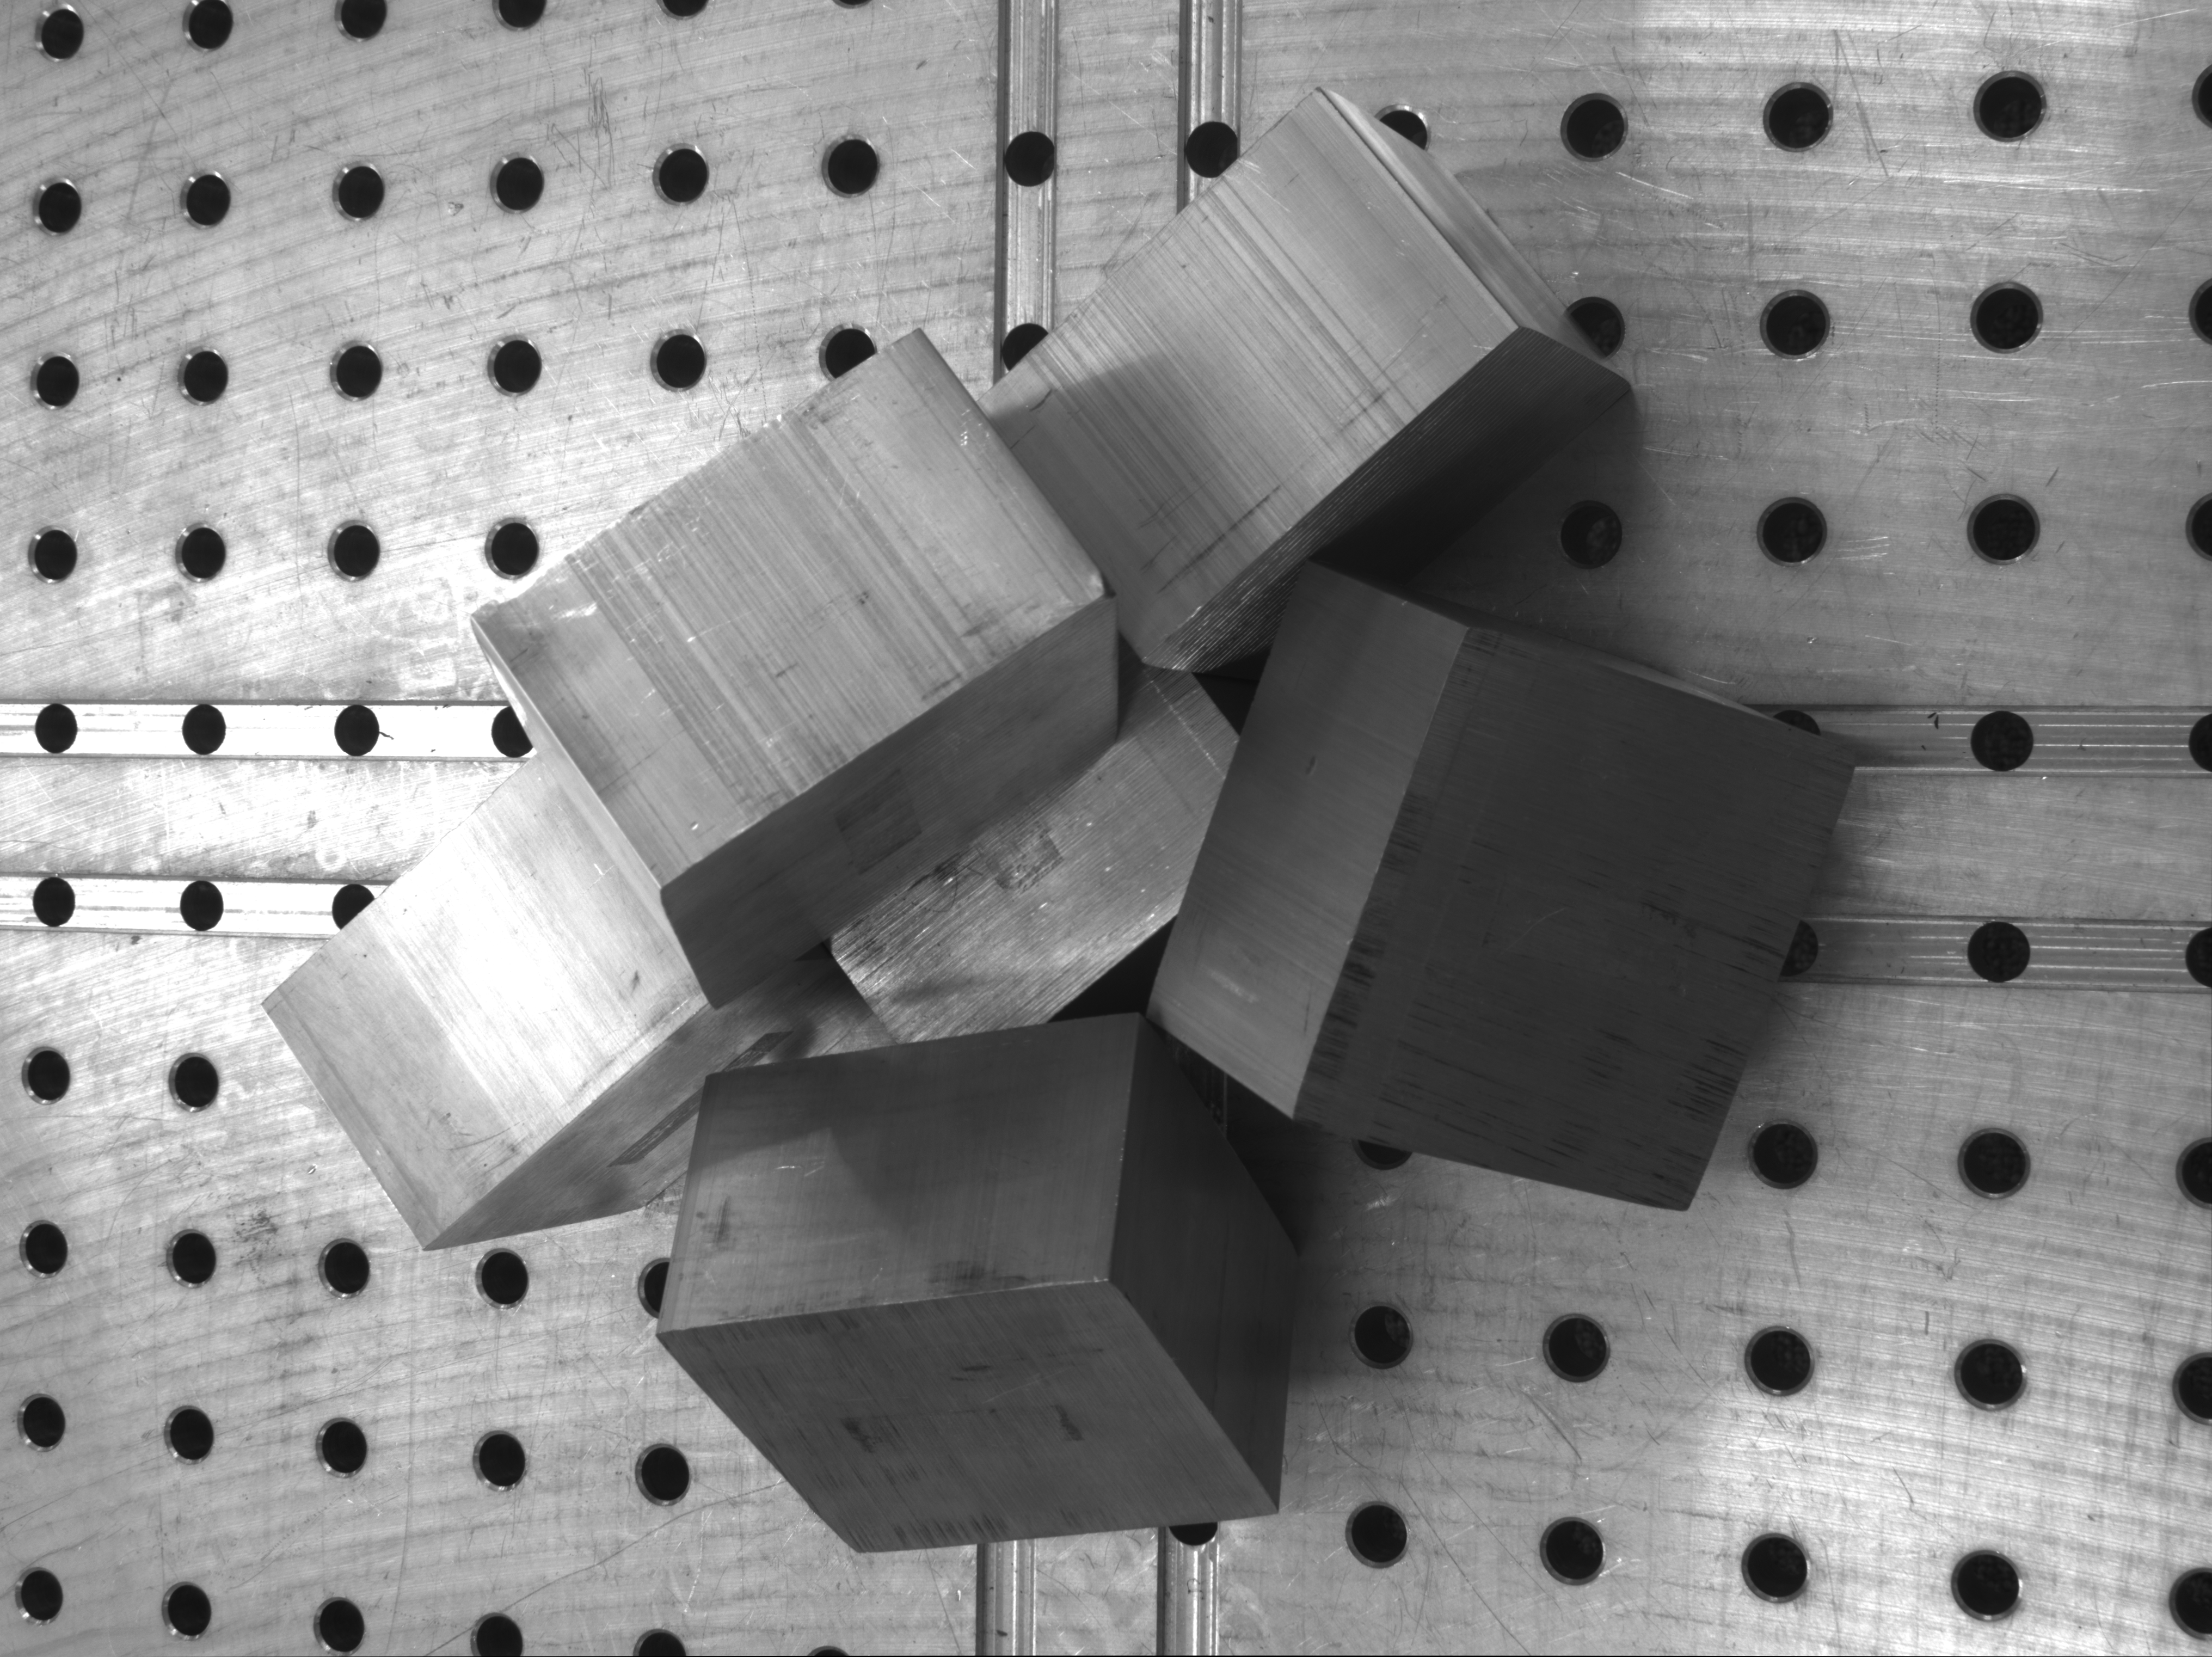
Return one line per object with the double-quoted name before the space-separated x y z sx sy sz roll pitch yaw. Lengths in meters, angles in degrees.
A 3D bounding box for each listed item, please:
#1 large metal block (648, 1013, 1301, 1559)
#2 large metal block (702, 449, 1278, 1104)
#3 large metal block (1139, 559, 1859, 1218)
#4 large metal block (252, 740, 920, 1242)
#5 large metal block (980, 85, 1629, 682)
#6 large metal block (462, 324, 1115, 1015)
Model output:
"large metal block" -0.019 0.079 0.620 0.080 0.080 0.050 -9 50 20
"large metal block" -0.012 -0.008 0.642 0.080 0.050 0.080 -41 77 15
"large metal block" 0.062 0.010 0.590 0.050 0.080 0.080 31 104 59
"large metal block" -0.089 0.025 0.651 0.080 0.080 0.050 -40 77 15
"large metal block" 0.032 -0.070 0.608 0.080 0.080 0.050 -41 77 15
"large metal block" -0.046 -0.022 0.570 0.080 0.080 0.050 -34 77 -9
